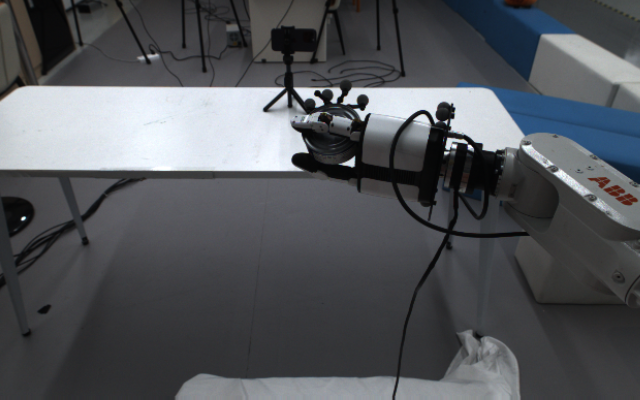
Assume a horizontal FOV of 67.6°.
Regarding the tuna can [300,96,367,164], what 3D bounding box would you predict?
[{"bbox_3d":[0.018,-0.094,0.691,0.085,0.034,0.085,-6,61,10],"label":"tuna can"}]
